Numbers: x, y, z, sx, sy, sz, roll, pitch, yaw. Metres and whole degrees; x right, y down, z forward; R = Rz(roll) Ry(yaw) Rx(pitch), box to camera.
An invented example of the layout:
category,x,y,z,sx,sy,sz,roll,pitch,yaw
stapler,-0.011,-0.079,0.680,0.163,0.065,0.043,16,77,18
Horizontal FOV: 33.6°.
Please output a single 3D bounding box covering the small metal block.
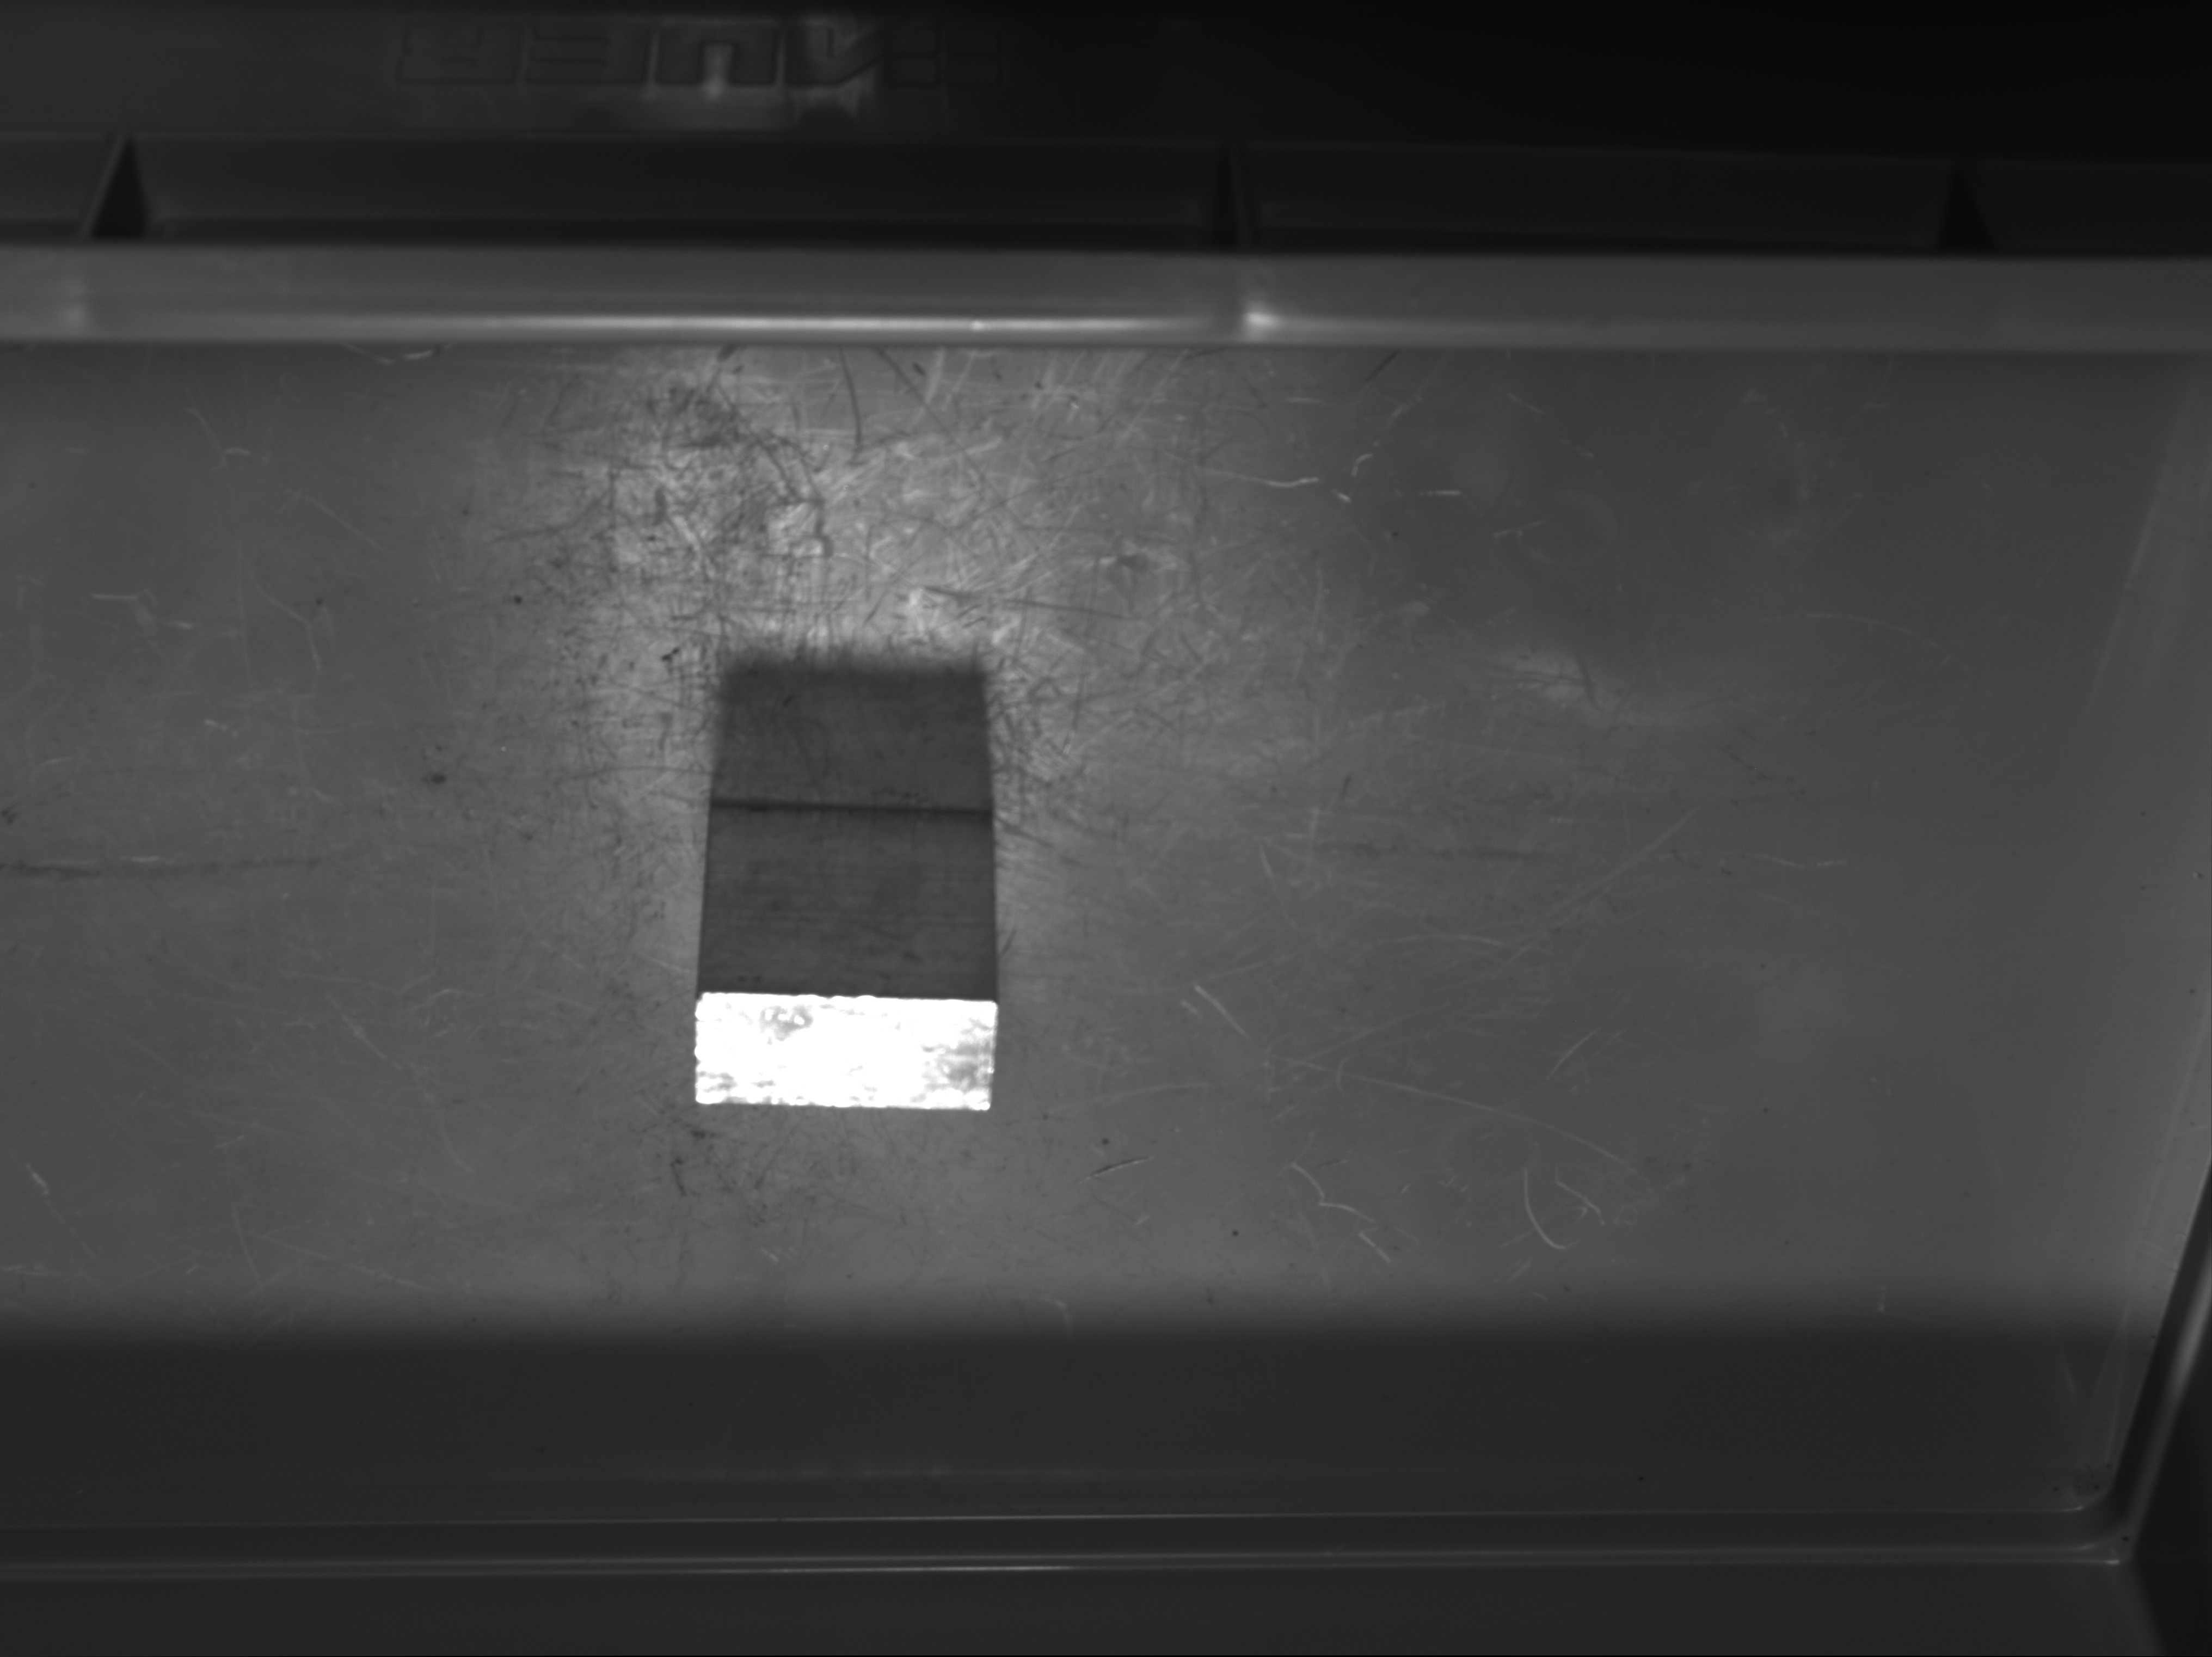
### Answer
category,x,y,z,sx,sy,sz,roll,pitch,yaw
small metal block,-0.036,0.023,0.636,0.050,0.050,0.025,2,130,-4
